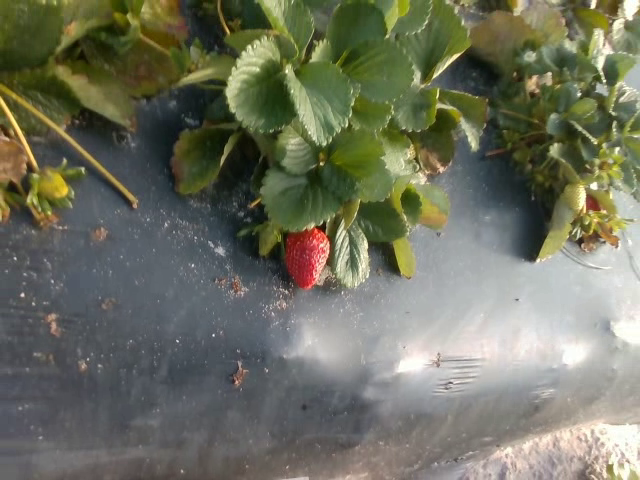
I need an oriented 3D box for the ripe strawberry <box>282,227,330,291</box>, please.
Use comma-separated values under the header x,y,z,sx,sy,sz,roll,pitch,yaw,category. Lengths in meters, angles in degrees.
x,y,z,sx,sy,sz,roll,pitch,yaw,category
-0.006,0.011,0.310,0.029,0.036,0.021,5,-15,-22,ripe strawberry
